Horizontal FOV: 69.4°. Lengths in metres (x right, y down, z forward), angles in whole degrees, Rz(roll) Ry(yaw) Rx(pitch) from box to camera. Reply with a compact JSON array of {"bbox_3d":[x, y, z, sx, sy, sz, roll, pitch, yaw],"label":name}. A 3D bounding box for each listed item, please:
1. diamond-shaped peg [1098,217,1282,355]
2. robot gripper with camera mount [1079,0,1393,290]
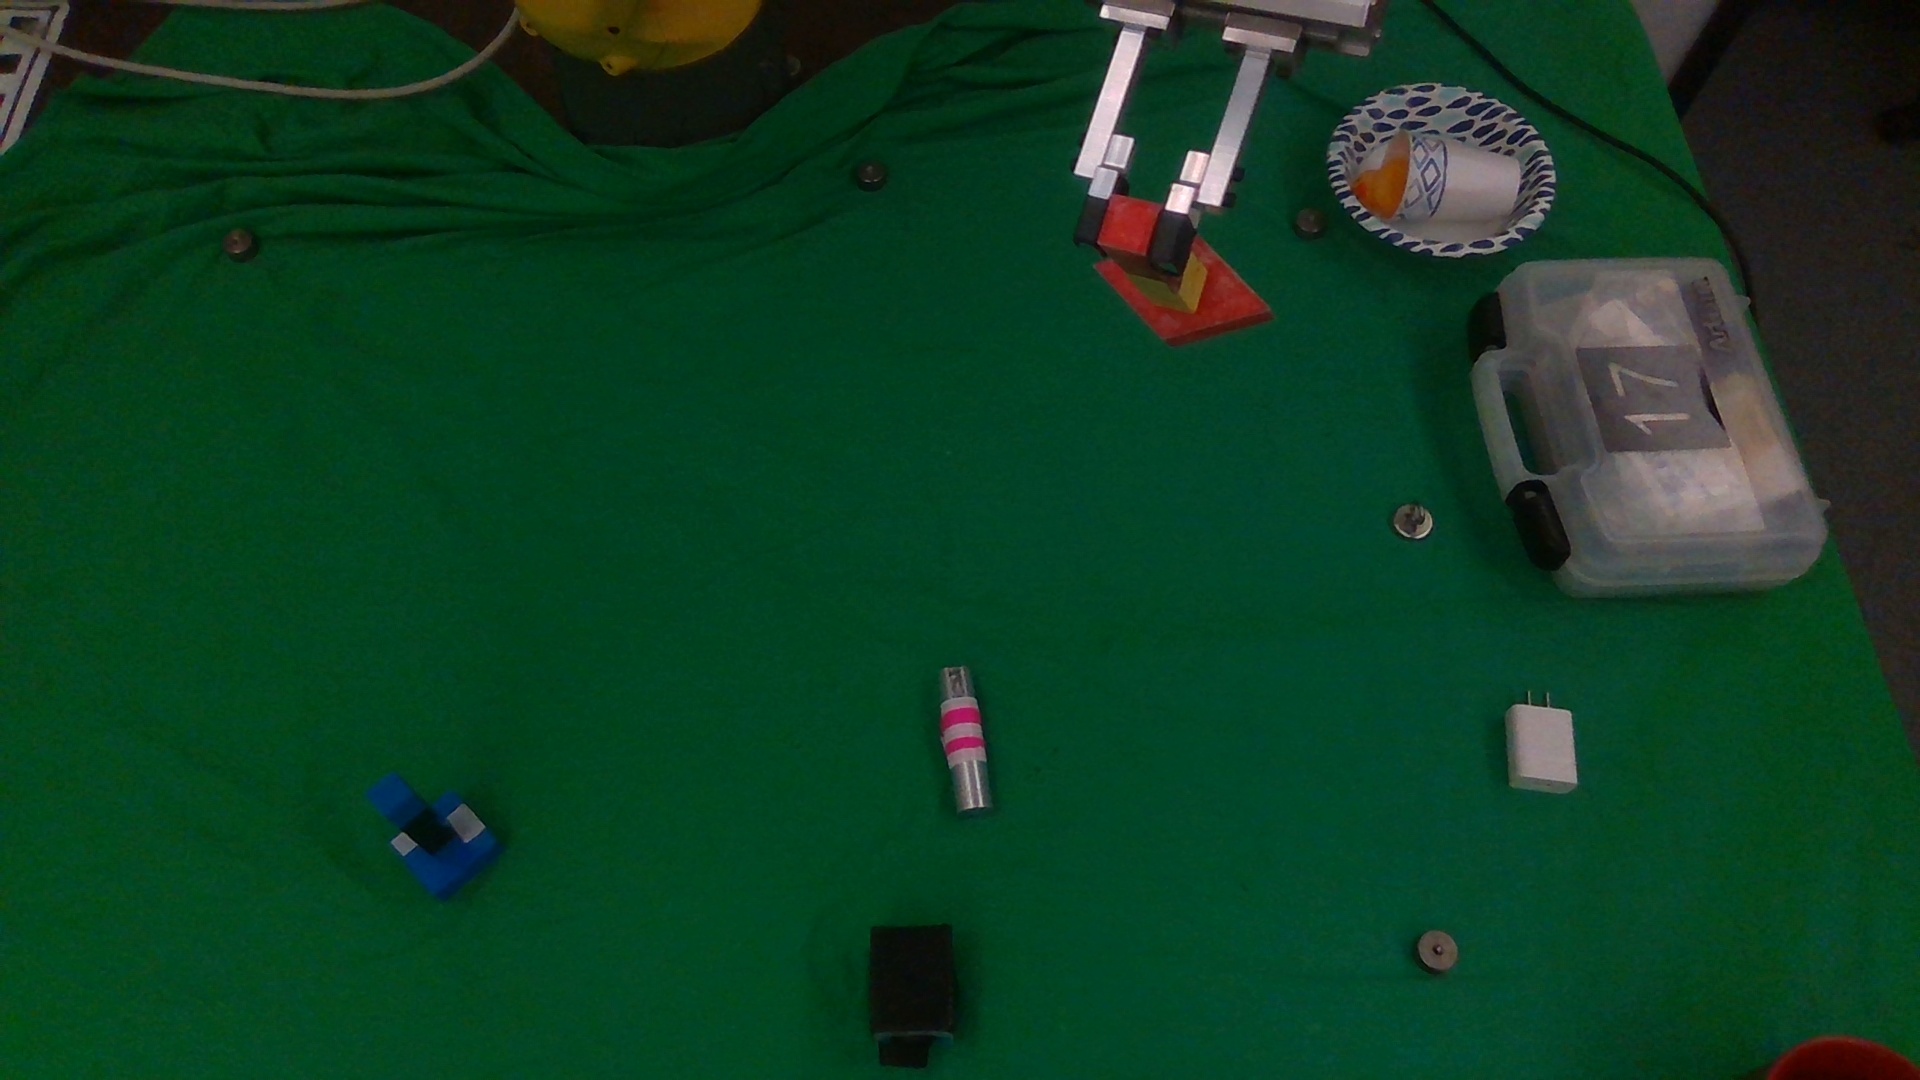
[{"bbox_3d":[0.087,-0.111,0.587,0.074,0.121,0.045,-13,84,21],"label":"diamond-shaped peg"},{"bbox_3d":[0.077,-0.180,0.470,0.119,0.193,0.158,18,95,14],"label":"robot gripper with camera mount"}]
